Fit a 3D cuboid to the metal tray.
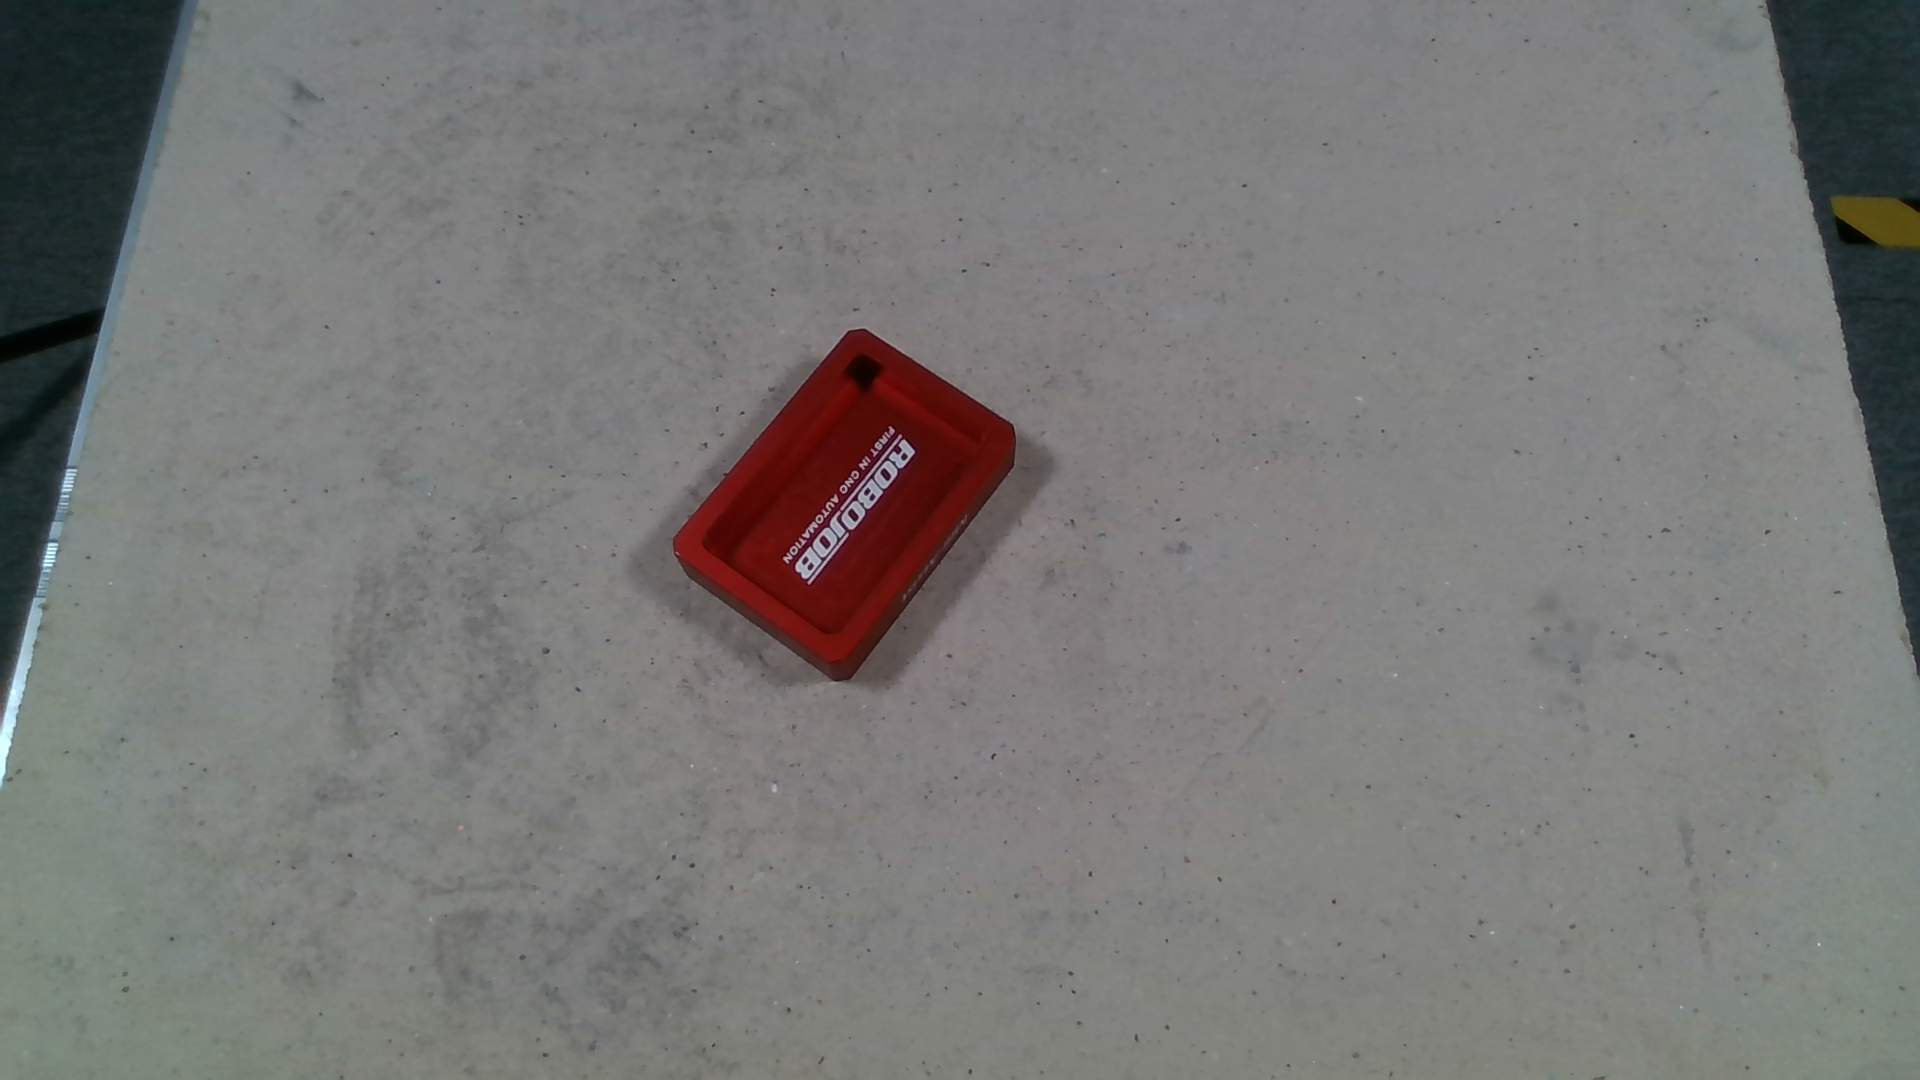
[{"bbox_3d":[-0.048,-0.017,0.592,0.090,0.030,0.130,34,74,11],"label":"metal tray"}]
